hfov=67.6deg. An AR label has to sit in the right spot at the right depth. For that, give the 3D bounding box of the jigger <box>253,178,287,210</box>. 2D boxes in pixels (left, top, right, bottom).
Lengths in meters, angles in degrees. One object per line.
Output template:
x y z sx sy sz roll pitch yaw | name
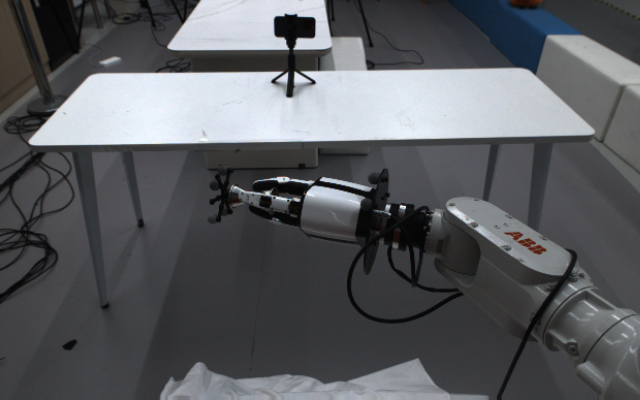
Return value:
-0.098 -0.005 0.758 0.071 0.043 0.043 7 35 14 | jigger
